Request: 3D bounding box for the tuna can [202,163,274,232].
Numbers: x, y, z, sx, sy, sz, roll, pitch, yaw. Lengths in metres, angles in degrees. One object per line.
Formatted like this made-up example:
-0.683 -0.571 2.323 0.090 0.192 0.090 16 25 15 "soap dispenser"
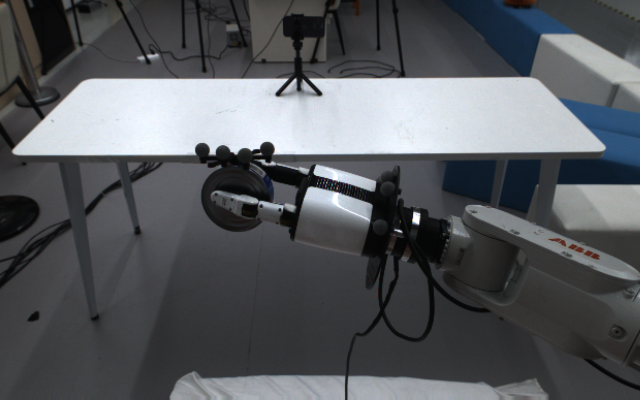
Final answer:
-0.097 -0.005 0.604 0.085 0.085 0.034 4 18 3 "tuna can"
